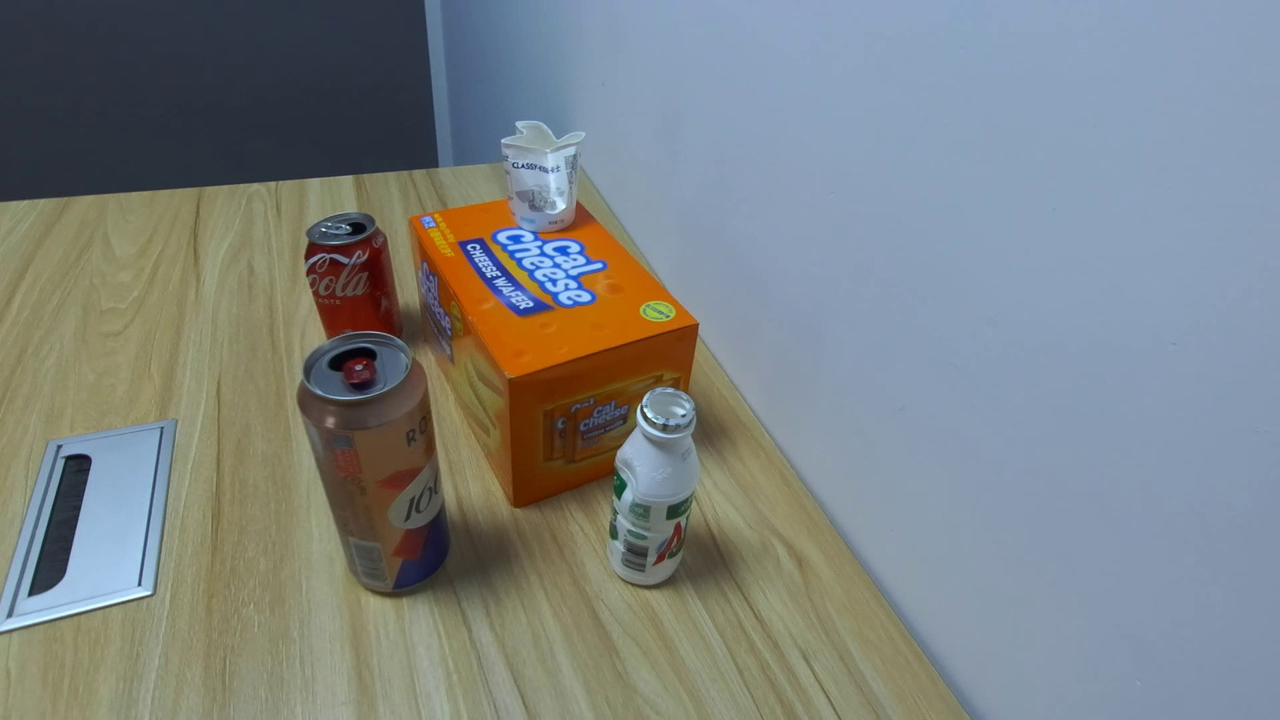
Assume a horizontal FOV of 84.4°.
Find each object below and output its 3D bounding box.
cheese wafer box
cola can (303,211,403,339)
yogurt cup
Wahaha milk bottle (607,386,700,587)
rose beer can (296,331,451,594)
[{"bbox_3d":[-0.075,-0.022,0.571,0.149,0.129,0.221,-18,46,-24],"label":"cheese wafer box"},{"bbox_3d":[-0.244,-0.064,0.606,0.065,0.117,0.072,20,42,12],"label":"cola can"},{"bbox_3d":[-0.077,-0.147,0.564,0.055,0.072,0.055,15,41,11],"label":"yogurt cup"},{"bbox_3d":[0.008,0.085,0.444,0.053,0.137,0.053,4,40,-3],"label":"Wahaha milk bottle"},{"bbox_3d":[-0.154,0.067,0.421,0.069,0.169,0.068,3,40,-2],"label":"rose beer can"}]
